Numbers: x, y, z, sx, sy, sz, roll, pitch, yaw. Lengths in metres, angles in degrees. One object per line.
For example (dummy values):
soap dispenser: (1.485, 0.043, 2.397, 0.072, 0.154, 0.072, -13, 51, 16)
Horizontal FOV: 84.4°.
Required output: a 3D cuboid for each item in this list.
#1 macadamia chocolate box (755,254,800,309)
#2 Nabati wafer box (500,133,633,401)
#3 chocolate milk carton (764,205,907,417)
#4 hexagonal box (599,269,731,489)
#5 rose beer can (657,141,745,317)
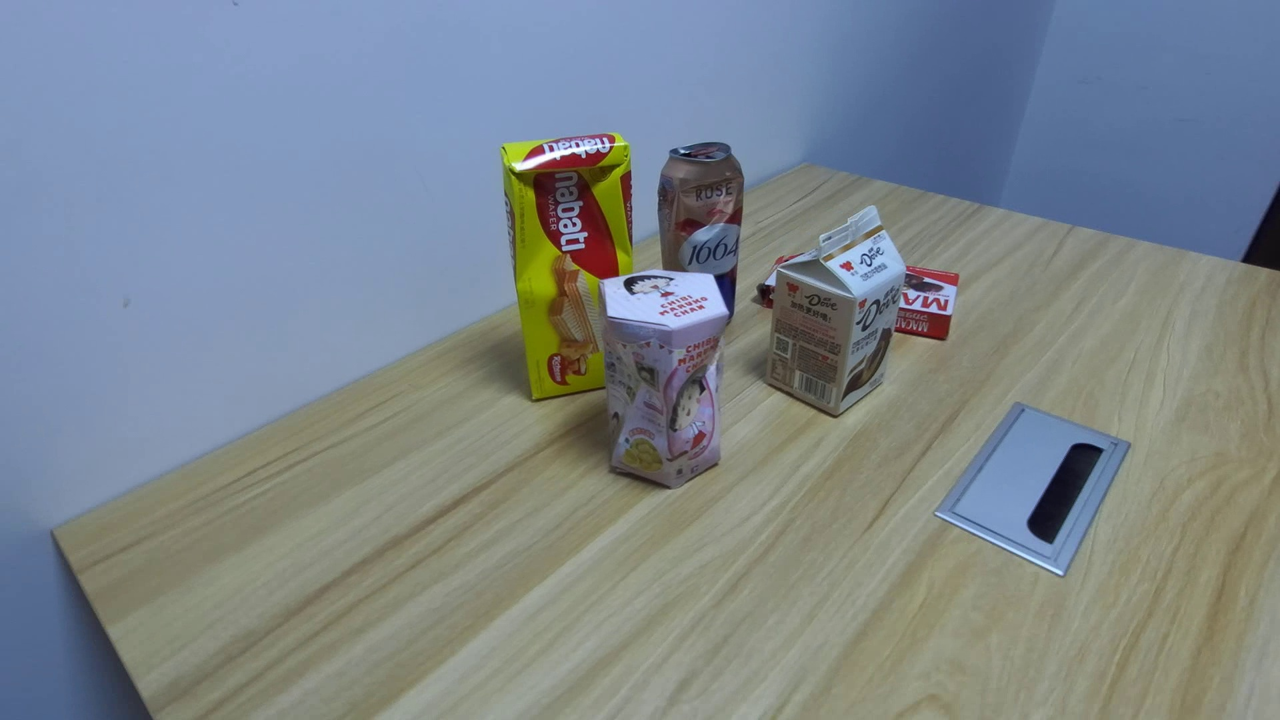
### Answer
macadamia chocolate box: (0.216, -0.072, 0.709, 0.186, 0.027, 0.103, 12, 34, 20)
Nabati wafer box: (-0.050, -0.067, 0.557, 0.096, 0.203, 0.042, -7, 31, -12)
chocolate milk carton: (0.154, -0.043, 0.554, 0.075, 0.148, 0.073, -28, 42, -35)
hexagonal box: (0.014, 0.014, 0.491, 0.093, 0.135, 0.089, 10, 35, 16)
rose beer can: (0.055, -0.111, 0.645, 0.076, 0.167, 0.065, -12, 32, -10)
